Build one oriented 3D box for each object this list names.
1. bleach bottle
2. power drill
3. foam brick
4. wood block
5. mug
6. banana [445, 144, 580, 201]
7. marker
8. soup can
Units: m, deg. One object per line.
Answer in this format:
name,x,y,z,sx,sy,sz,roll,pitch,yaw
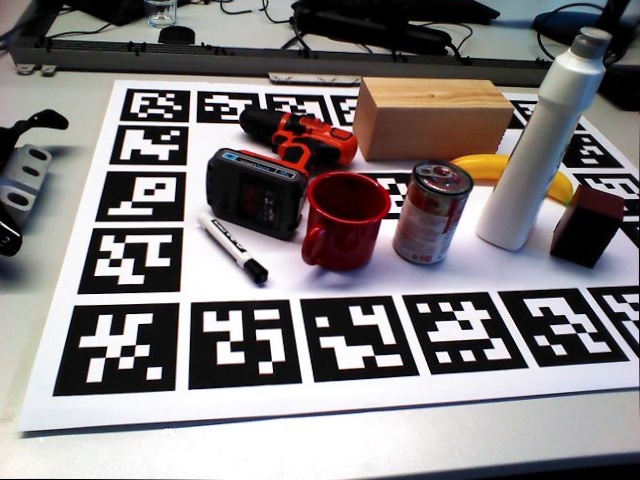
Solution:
bleach bottle,0.253,-0.108,0.575,0.068,0.252,0.102,18,42,12
power drill,-0.050,-0.100,0.676,0.185,0.057,0.185,20,42,9
foam brick,0.329,-0.014,0.614,0.053,0.078,0.051,20,42,17
wood block,0.171,-0.176,0.760,0.206,0.091,0.089,-2,44,-11
mug,0.020,-0.017,0.566,0.093,0.082,0.116,30,50,20
banana,0.261,-0.102,0.724,0.198,0.039,0.074,11,56,0
marker,-0.097,0.013,0.568,0.019,0.020,0.121,-27,53,-29
soup can,0.128,-0.034,0.577,0.068,0.102,0.067,5,38,-4
